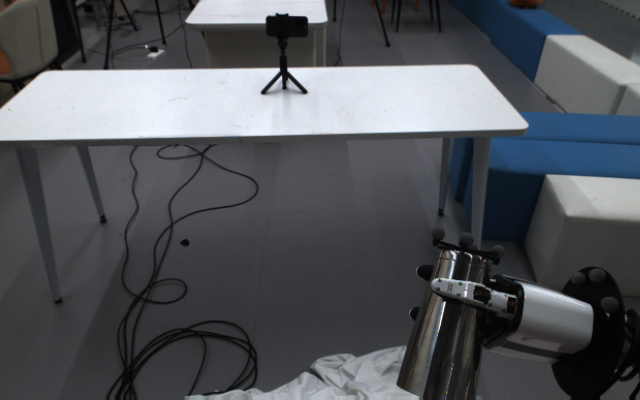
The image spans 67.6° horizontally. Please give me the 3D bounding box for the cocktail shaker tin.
[{"bbox_3d":[0.161,0.149,0.591,0.093,0.093,0.170,13,80,16],"label":"cocktail shaker tin"}]
